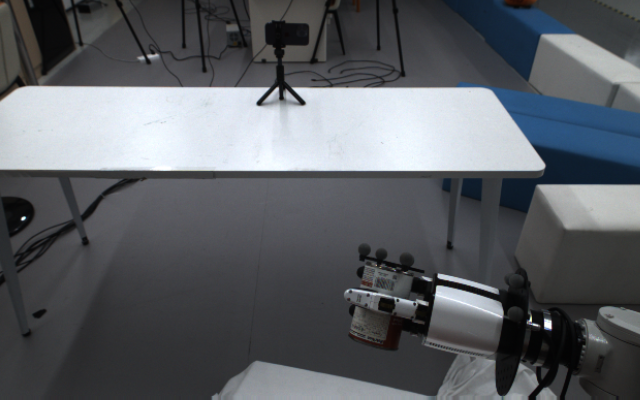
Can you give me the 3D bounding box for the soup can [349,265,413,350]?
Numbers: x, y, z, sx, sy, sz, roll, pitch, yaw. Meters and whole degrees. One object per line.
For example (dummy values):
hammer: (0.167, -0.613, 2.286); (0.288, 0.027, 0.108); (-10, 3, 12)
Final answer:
soup can: (0.084, 0.139, 0.639); (0.067, 0.101, 0.067); (13, -6, 1)
